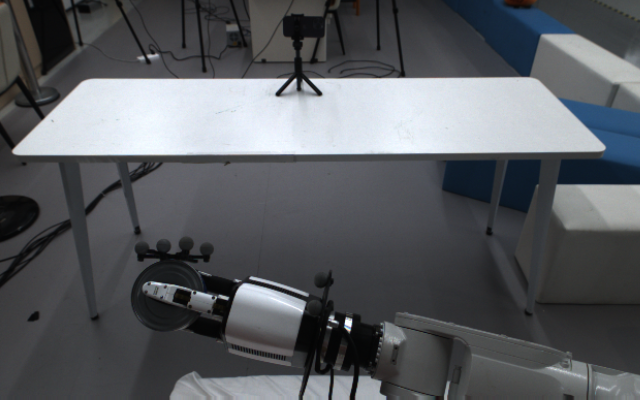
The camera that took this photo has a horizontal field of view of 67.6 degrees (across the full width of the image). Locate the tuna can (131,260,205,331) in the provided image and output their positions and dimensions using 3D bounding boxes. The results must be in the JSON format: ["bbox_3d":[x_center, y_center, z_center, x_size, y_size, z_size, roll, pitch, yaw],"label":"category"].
[{"bbox_3d":[-0.177,0.119,0.592,0.085,0.034,0.085,1,73,-4],"label":"tuna can"}]
